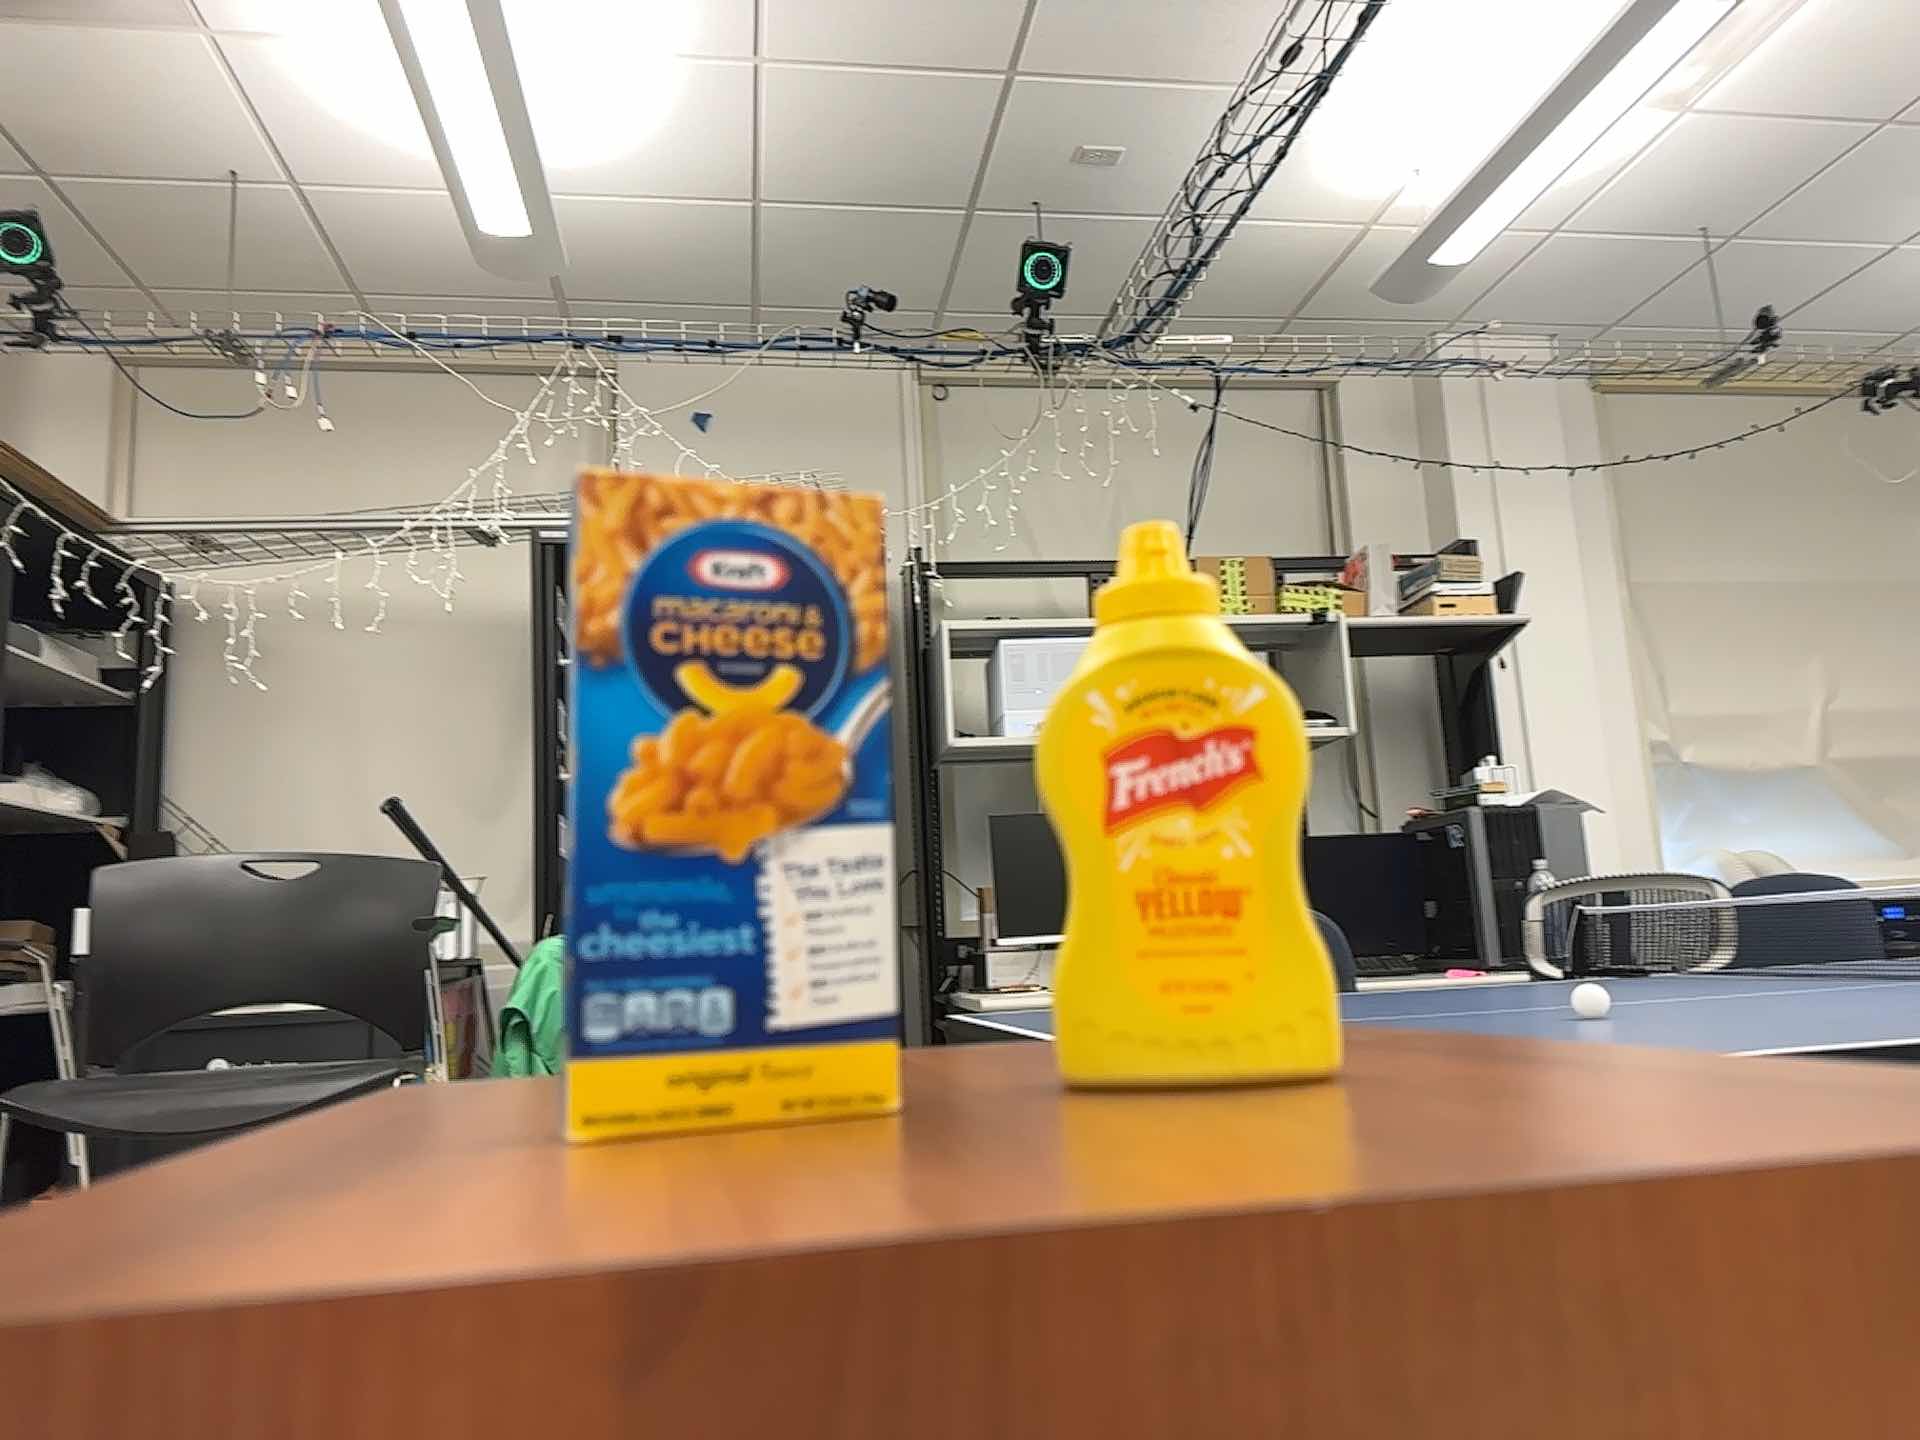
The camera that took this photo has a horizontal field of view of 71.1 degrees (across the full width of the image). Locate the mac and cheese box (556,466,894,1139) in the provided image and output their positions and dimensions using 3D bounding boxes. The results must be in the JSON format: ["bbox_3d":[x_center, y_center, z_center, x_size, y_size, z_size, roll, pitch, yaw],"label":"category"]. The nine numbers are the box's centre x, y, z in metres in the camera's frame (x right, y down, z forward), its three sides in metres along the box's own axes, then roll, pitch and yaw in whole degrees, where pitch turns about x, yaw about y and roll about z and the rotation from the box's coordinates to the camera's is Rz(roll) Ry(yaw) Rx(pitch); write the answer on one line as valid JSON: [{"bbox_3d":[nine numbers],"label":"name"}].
[{"bbox_3d":[-0.068,0.022,0.390,0.088,0.181,0.035,0,-9,-16],"label":"mac and cheese box"}]

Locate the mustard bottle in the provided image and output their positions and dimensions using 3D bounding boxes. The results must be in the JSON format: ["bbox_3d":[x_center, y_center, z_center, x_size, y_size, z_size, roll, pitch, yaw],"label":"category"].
[{"bbox_3d":[0.069,0.023,0.428,0.092,0.184,0.054,-4,-9,8],"label":"mustard bottle"}]
